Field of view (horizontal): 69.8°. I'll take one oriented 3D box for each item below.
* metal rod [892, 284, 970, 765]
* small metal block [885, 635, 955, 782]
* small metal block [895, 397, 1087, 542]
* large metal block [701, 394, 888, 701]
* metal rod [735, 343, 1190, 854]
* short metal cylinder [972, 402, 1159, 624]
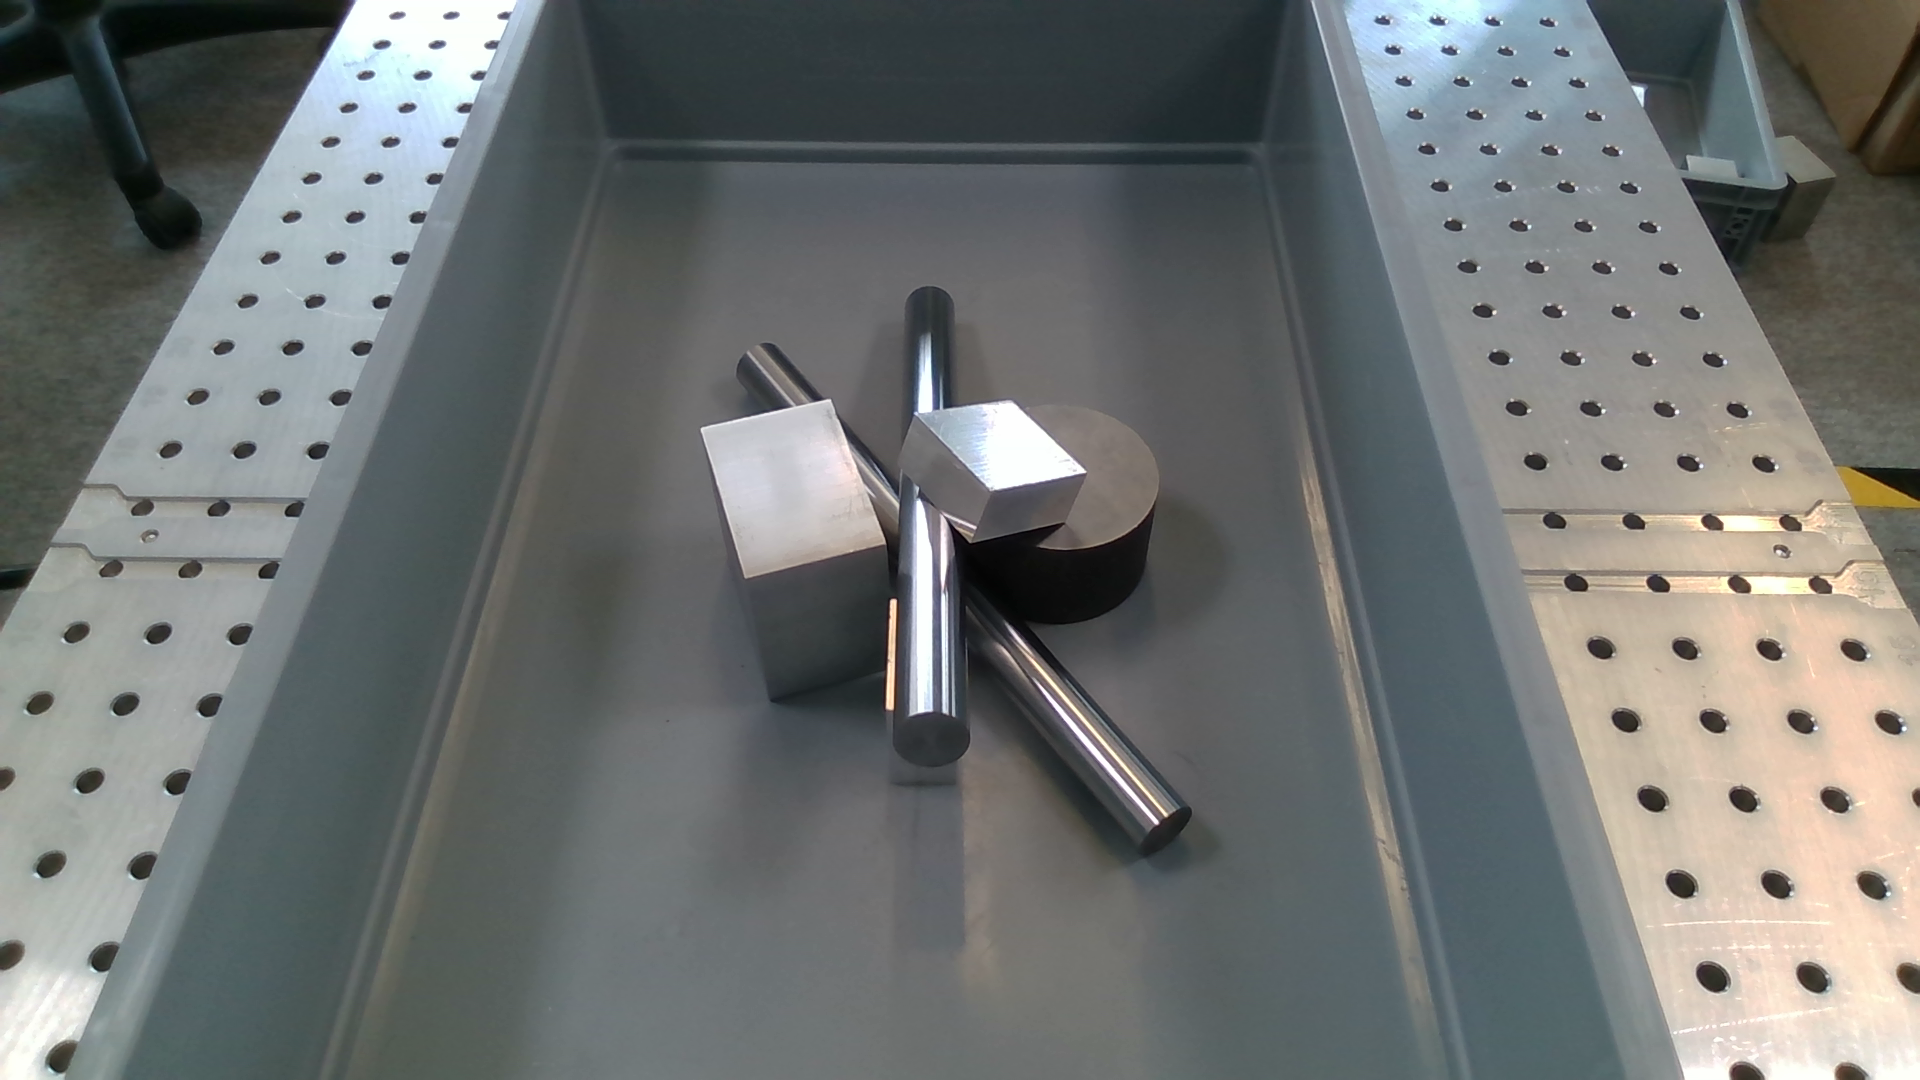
[{"bbox_3d":[-0.012,-0.026,0.561,0.025,0.025,0.299,-1,37,-1],"label":"metal rod"},{"bbox_3d":[-0.014,0.057,0.522,0.025,0.050,0.050,0,49,0],"label":"small metal block"},{"bbox_3d":[0.012,-0.028,0.533,0.050,0.025,0.050,-12,47,-40],"label":"small metal block"},{"bbox_3d":[-0.064,0.003,0.546,0.050,0.080,0.080,-14,52,-12],"label":"large metal block"},{"bbox_3d":[-0.011,0.011,0.578,0.025,0.025,0.299,-28,56,-21],"label":"metal rod"},{"bbox_3d":[0.041,-0.012,0.579,0.080,0.050,0.080,1,50,-1],"label":"short metal cylinder"}]
